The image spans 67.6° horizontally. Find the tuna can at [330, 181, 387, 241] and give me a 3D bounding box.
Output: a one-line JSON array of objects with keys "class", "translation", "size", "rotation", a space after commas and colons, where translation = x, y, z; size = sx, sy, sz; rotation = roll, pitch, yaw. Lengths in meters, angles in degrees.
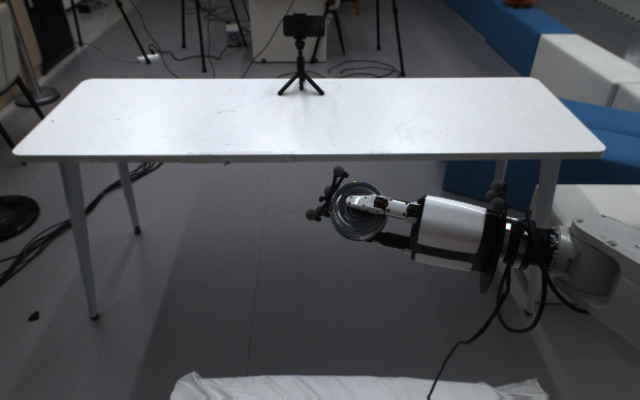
[{"class": "tuna can", "translation": [0.060, 0.015, 0.717], "size": [0.085, 0.034, 0.085], "rotation": [-2, 71, 6]}]
